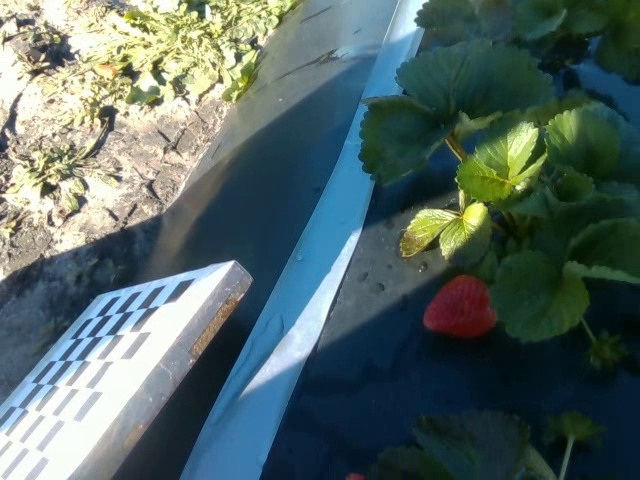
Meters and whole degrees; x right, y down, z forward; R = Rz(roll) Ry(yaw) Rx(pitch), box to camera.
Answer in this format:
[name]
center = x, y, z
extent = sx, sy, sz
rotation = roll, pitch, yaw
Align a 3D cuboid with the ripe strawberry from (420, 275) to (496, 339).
[ripe strawberry]
center = 0.088, 0.045, 0.407
extent = 0.058, 0.042, 0.045
rotation = -26, 18, -14
